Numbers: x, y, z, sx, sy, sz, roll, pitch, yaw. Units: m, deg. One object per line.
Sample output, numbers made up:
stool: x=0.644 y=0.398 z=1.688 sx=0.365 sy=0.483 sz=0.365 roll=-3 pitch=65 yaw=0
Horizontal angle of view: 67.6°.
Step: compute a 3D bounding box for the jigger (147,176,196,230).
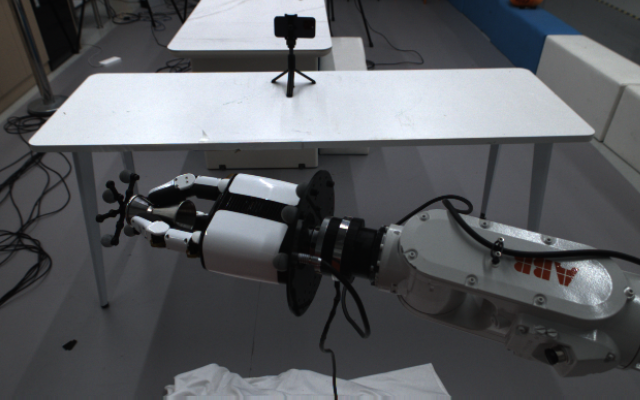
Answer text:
jigger: x=-0.182 y=0.014 z=0.566 sx=0.071 sy=0.043 sz=0.043 roll=7 pitch=35 yaw=16
